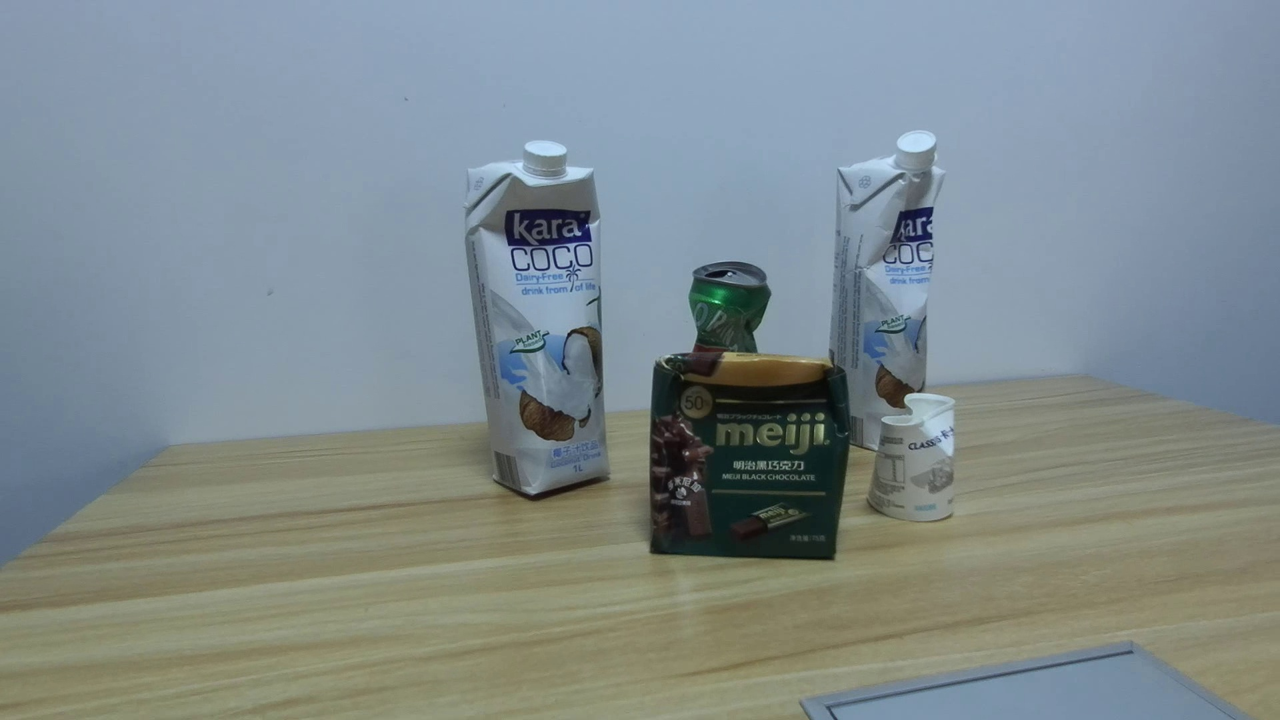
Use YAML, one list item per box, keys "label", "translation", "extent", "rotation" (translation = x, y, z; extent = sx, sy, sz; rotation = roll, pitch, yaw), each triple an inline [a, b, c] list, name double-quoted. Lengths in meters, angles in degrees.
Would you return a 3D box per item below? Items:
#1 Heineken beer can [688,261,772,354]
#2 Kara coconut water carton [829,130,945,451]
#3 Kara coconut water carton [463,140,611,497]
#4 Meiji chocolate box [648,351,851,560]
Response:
- label: "Heineken beer can"
  translation: [0.070, 0.006, 0.548]
  extent: [0.067, 0.159, 0.078]
  rotation: [-6, 17, -10]
- label: "Kara coconut water carton"
  translation: [0.202, -0.056, 0.591]
  extent: [0.083, 0.255, 0.078]
  rotation: [-5, 13, -22]
- label: "Kara coconut water carton"
  translation: [-0.070, -0.030, 0.515]
  extent: [0.100, 0.244, 0.071]
  rotation: [-13, 14, -37]
- label: "Meiji chocolate box"
  translation: [0.062, 0.060, 0.431]
  extent: [0.113, 0.110, 0.058]
  rotation: [0, -3, 8]
